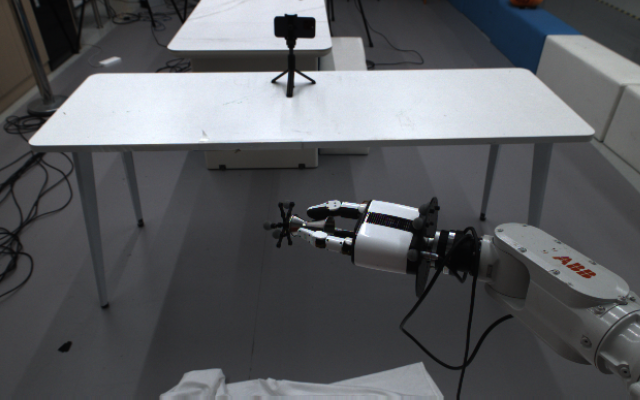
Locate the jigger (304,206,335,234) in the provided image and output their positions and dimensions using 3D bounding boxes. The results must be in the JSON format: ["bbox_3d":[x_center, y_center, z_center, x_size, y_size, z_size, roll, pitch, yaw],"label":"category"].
[{"bbox_3d":[-0.007,0.039,0.822,0.071,0.043,0.043,3,32,25],"label":"jigger"}]
